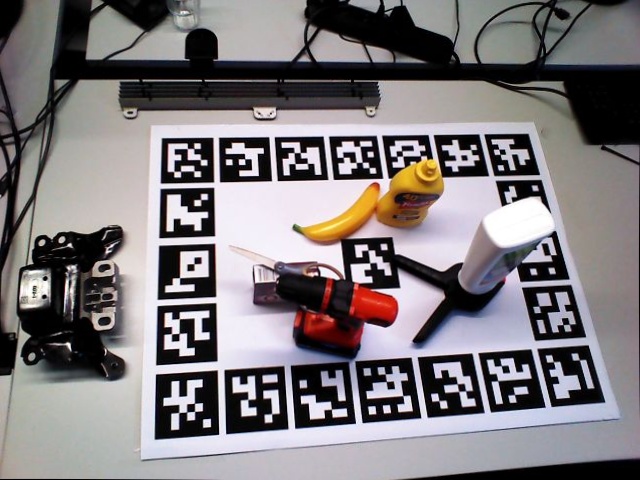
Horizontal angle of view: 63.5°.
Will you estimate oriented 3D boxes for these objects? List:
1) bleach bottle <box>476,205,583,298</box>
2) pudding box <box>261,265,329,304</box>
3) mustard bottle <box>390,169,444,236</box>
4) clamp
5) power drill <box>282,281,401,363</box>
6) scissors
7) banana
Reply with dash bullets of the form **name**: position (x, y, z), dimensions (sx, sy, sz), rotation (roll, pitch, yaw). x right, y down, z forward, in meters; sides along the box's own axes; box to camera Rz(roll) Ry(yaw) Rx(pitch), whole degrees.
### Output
- **bleach bottle**: position (0.317, 0.038, 0.836), dimensions (0.102, 0.251, 0.068), rotation (-21, 67, -8)
- **pudding box**: position (-0.042, 0.077, 0.876), dimensions (0.114, 0.090, 0.038), rotation (3, 60, -7)
- **mustard bottle**: position (0.194, -0.071, 0.917), dimensions (0.096, 0.192, 0.058), rotation (12, 66, -3)
- **clamp**: position (0.271, 0.094, 0.921), dimensions (0.202, 0.037, 0.165), rotation (-7, 71, -11)
- **power drill**: position (0.032, 0.124, 0.782), dimensions (0.185, 0.188, 0.057), rotation (10, 60, 0)
- **scissors**: position (-0.043, 0.046, 0.818), dimensions (0.203, 0.016, 0.087), rotation (24, 71, -2)
- **banana**: position (0.078, -0.057, 0.968), dimensions (0.196, 0.039, 0.074), rotation (-40, 61, -20)
